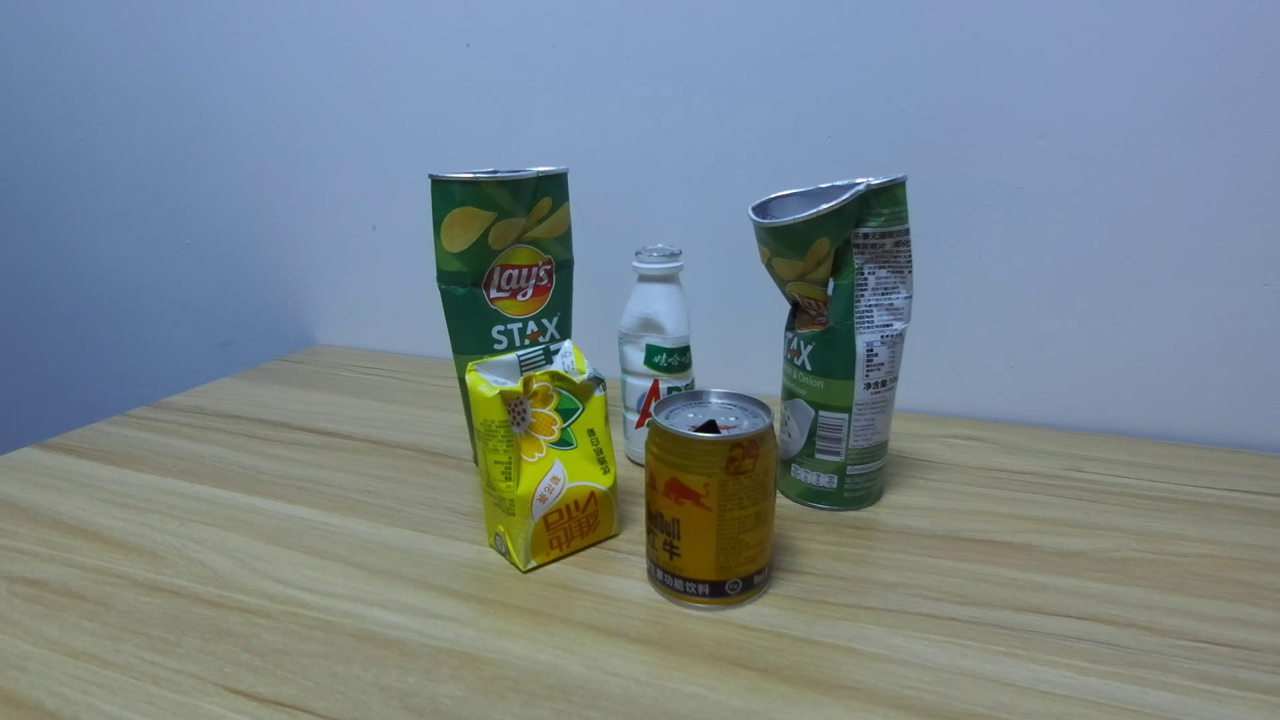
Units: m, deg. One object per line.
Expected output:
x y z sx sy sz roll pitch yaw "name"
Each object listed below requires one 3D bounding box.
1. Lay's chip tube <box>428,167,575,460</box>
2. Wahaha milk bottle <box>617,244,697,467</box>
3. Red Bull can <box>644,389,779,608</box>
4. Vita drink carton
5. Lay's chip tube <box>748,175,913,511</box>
-0.086 -0.025 0.483 0.068 0.199 0.075 5 19 19 "Lay's chip tube"
0.013 -0.002 0.477 0.055 0.149 0.055 0 15 0 "Wahaha milk bottle"
0.036 0.067 0.355 0.067 0.093 0.067 0 19 0 "Red Bull can"
-0.051 0.051 0.388 0.071 0.109 0.046 -14 20 -34 "Vita drink carton"
0.112 -0.007 0.425 0.071 0.199 0.078 -23 26 -32 "Lay's chip tube"
